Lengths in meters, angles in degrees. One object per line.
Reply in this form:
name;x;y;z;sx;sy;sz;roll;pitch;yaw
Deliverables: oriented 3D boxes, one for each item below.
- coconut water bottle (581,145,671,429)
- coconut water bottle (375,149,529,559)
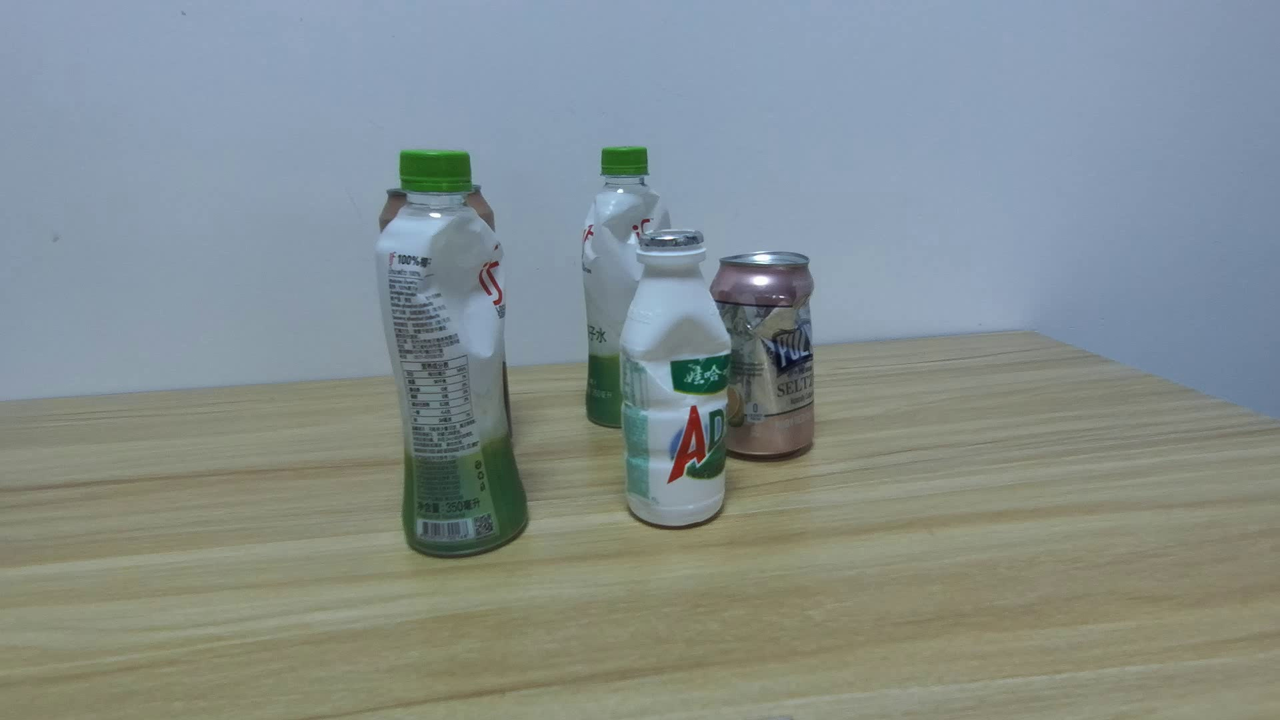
coconut water bottle;-0.009;-0.049;0.489;0.067;0.187;0.067;0;13;0
coconut water bottle;-0.092;-0.004;0.343;0.069;0.187;0.069;-1;13;1
